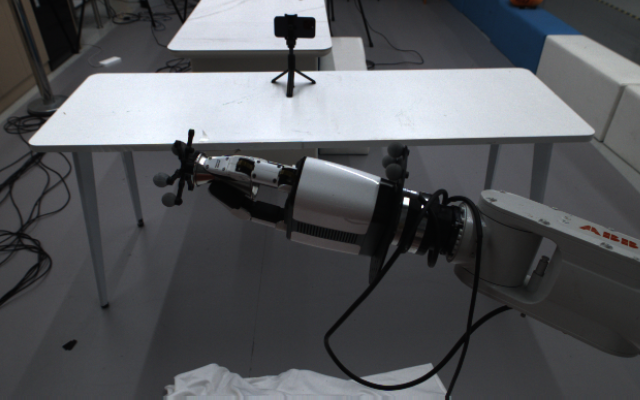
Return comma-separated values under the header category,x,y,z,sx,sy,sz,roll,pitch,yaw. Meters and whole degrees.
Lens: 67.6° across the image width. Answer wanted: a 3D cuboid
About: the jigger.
category,x,y,z,sx,sy,sz,roll,pitch,yaw
jigger,-0.097,-0.032,0.550,0.071,0.043,0.043,10,35,3
